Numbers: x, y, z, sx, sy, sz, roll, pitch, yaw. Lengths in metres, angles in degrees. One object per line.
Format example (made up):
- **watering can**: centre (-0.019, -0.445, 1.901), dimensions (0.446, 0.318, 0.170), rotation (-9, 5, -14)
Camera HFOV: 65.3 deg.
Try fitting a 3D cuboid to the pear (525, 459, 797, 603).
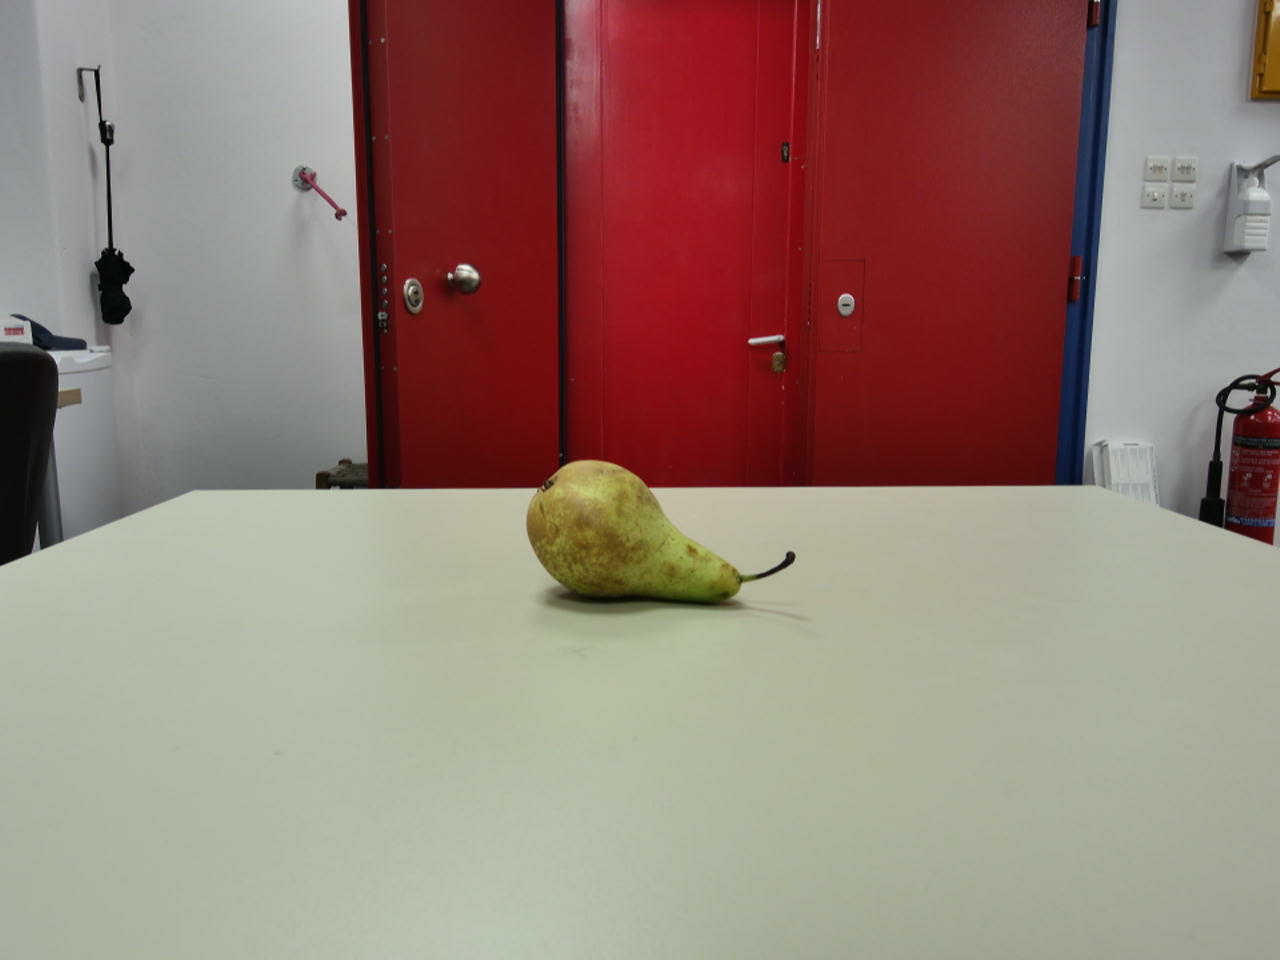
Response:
- **pear**: centre (0.010, 0.027, 0.540), dimensions (0.144, 0.075, 0.071), rotation (0, 7, 7)
